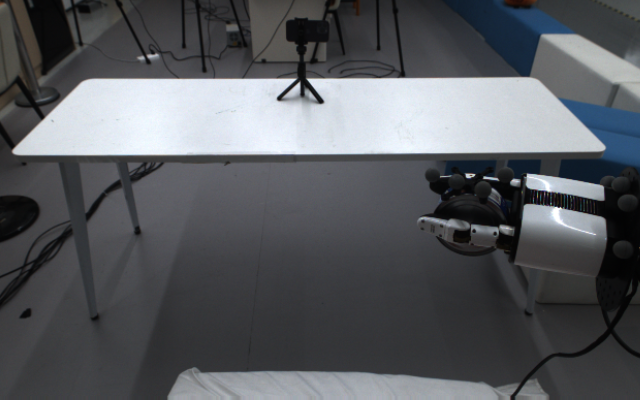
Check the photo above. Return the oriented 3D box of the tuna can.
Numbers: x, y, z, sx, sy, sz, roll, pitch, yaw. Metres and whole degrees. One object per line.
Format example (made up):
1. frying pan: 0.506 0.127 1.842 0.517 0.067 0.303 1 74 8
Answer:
1. tuna can: 0.181 0.021 0.576 0.085 0.085 0.034 15 34 18
